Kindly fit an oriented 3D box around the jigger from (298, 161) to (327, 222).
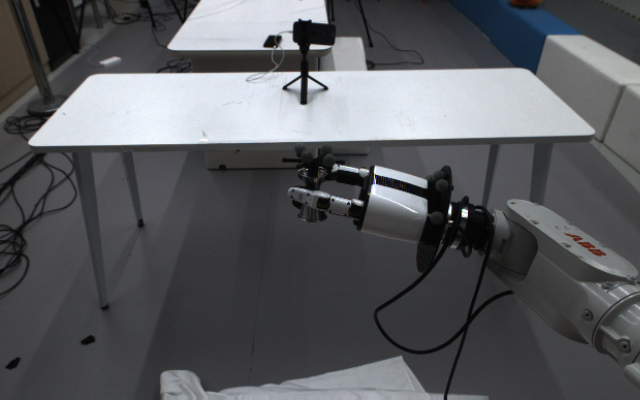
[{"bbox_3d":[-0.011,-0.008,0.706,0.043,0.071,0.043,1,20,0],"label":"jigger"}]
